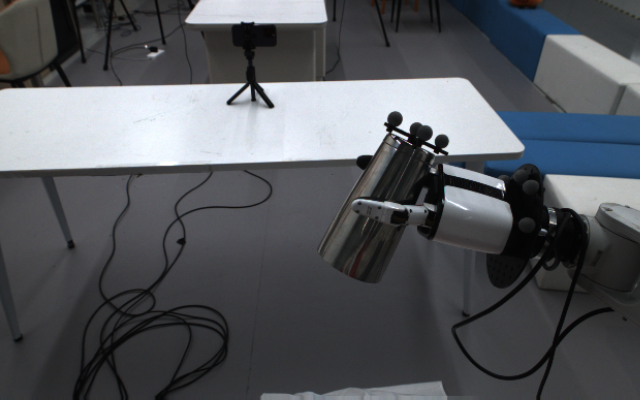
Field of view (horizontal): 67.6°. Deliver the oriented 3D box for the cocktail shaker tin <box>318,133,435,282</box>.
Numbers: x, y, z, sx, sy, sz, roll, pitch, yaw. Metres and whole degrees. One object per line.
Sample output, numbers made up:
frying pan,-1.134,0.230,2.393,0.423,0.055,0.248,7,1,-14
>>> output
cocktail shaker tin,0.077,0.005,0.604,0.093,0.170,0.093,24,12,-6
